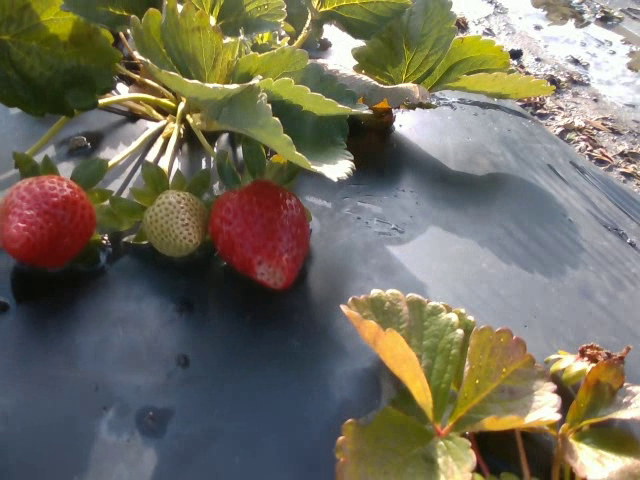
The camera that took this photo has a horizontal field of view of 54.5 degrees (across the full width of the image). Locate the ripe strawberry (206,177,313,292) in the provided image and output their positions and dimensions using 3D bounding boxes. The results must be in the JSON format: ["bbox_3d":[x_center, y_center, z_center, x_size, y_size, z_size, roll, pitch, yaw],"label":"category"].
[{"bbox_3d":[-0.025,0.000,0.270,0.048,0.065,0.050,-32,-39,18],"label":"ripe strawberry"}]
